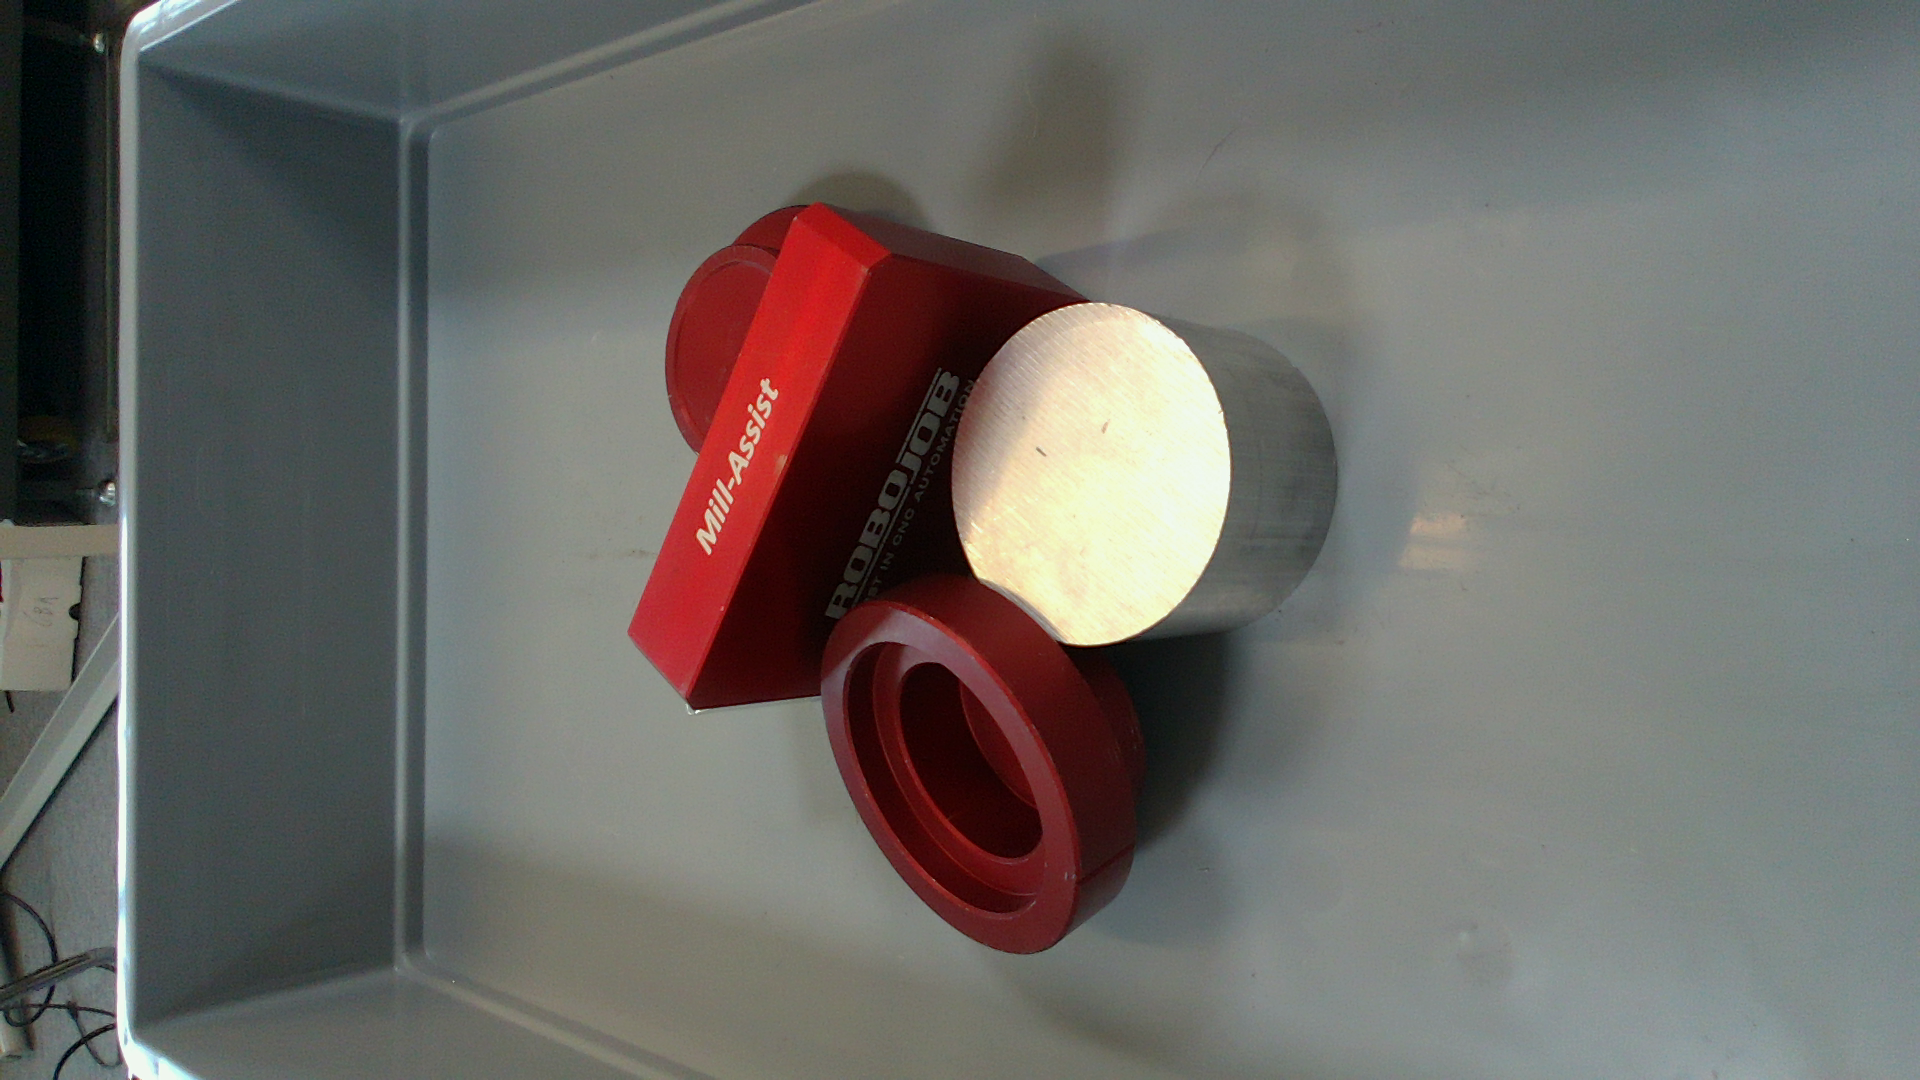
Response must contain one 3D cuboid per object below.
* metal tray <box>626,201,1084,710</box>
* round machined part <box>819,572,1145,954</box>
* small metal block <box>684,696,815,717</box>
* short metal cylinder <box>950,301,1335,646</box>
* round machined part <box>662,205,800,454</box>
[{"bbox_3d":[-0.026,-0.018,0.372,0.030,0.090,0.130,40,114,33],"label":"metal tray"},{"bbox_3d":[0.009,0.054,0.359,0.098,0.042,0.098,29,132,39],"label":"round machined part"},{"bbox_3d":[-0.062,0.026,0.428,0.025,0.050,0.050,-20,78,38],"label":"small metal block"},{"bbox_3d":[0.044,-0.015,0.339,0.080,0.050,0.080,0,90,40],"label":"short metal cylinder"},{"bbox_3d":[-0.055,-0.055,0.427,0.098,0.042,0.098,0,90,40],"label":"round machined part"}]
